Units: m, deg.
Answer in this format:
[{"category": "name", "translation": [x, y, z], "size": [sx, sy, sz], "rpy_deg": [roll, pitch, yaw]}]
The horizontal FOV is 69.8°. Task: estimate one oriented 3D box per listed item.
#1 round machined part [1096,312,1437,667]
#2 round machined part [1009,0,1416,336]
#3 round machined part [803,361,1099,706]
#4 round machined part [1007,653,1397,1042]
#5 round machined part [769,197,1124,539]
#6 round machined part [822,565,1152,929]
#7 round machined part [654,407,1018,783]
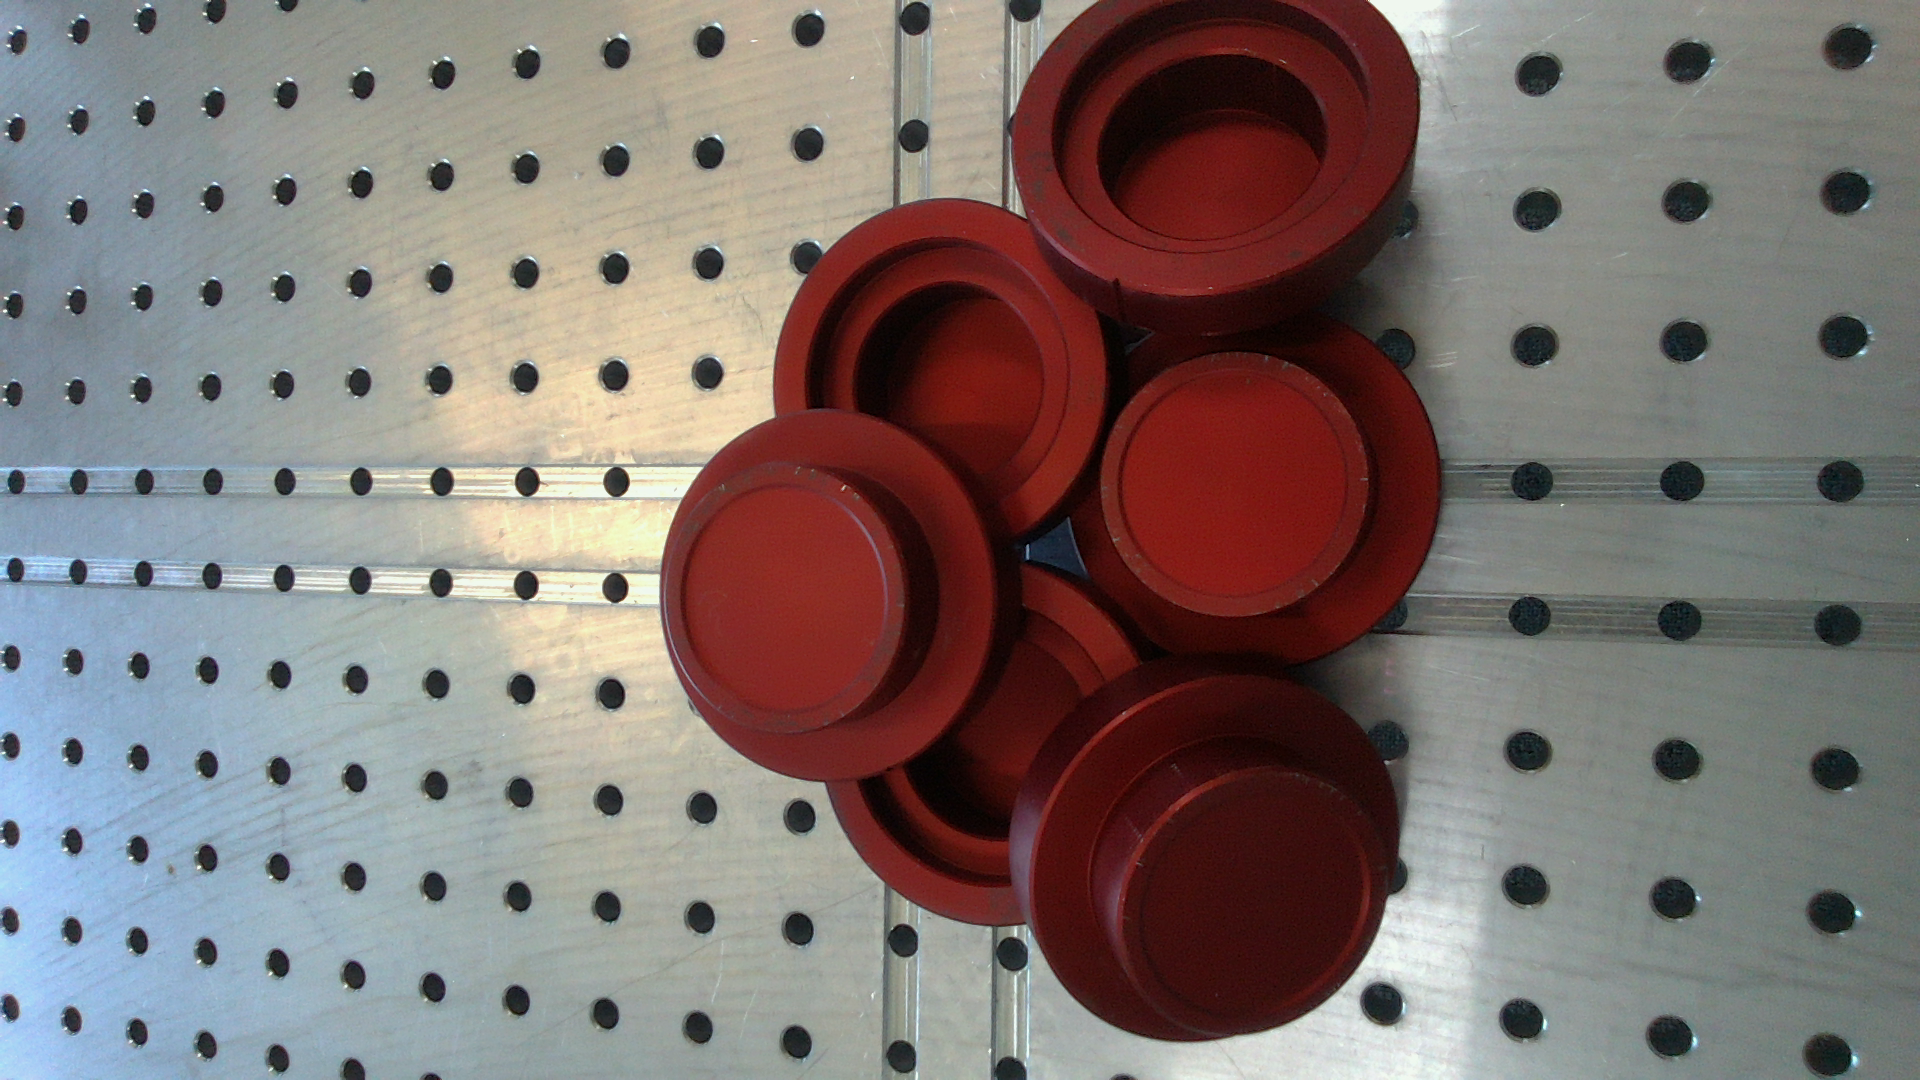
[{"category": "round machined part", "translation": [0.074, -0.014, 0.362], "size": [0.098, 0.042, 0.098], "rpy_deg": [0, 90, 20]}, {"category": "round machined part", "translation": [0.064, -0.095, 0.354], "size": [0.098, 0.042, 0.098], "rpy_deg": [-4, 68, 11]}, {"category": "round machined part", "translation": [-0.008, 0.000, 0.392], "size": [0.098, 0.042, 0.098], "rpy_deg": [0, 90, 20]}, {"category": "round machined part", "translation": [0.064, 0.081, 0.340], "size": [0.098, 0.042, 0.098], "rpy_deg": [-3, 103, -12]}, {"category": "round machined part", "translation": [-0.001, -0.044, 0.390], "size": [0.098, 0.042, 0.098], "rpy_deg": [0, 90, 20]}, {"category": "round machined part", "translation": [0.012, 0.054, 0.385], "size": [0.098, 0.042, 0.098], "rpy_deg": [0, 90, 20]}, {"category": "round machined part", "translation": [-0.038, 0.014, 0.358], "size": [0.098, 0.042, 0.098], "rpy_deg": [0, 90, 20]}]
